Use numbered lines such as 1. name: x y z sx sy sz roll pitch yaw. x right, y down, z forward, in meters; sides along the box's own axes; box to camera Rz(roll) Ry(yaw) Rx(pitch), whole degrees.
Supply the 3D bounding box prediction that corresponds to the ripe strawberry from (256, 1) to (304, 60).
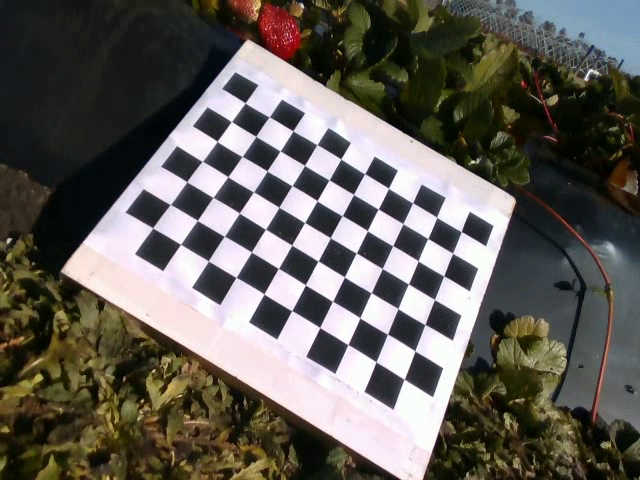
1. ripe strawberry: -0.038 -0.194 0.556 0.058 0.066 0.062 -21 -18 5
